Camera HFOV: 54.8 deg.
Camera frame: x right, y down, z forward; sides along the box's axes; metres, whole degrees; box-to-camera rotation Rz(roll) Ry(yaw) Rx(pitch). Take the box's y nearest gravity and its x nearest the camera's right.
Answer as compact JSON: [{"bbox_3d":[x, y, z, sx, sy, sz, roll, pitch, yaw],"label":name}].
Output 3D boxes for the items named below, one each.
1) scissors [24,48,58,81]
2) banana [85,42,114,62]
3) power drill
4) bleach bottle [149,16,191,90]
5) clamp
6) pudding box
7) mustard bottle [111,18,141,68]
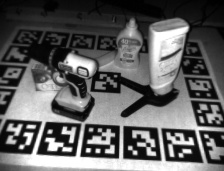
[{"bbox_3d":[-0.202,-0.077,0.646,0.202,0.016,0.088,25,55,10],"label":"scissors"},{"bbox_3d":[-0.060,-0.121,0.812,0.199,0.039,0.073,-29,40,-27],"label":"banana"},{"bbox_3d":[-0.136,-0.014,0.580,0.184,0.188,0.057,10,42,9],"label":"power drill"},{"bbox_3d":[0.158,-0.071,0.637,0.103,0.252,0.067,-17,47,-8],"label":"bleach bottle"},{"bbox_3d":[0.118,0.009,0.703,0.203,0.037,0.164,-1,51,-8],"label":"clamp"},{"bbox_3d":[-0.196,-0.028,0.690,0.114,0.090,0.038,6,42,0],"label":"pudding box"},{"bbox_3d":[0.051,-0.149,0.759,0.096,0.192,0.058,13,49,7],"label":"mustard bottle"}]
